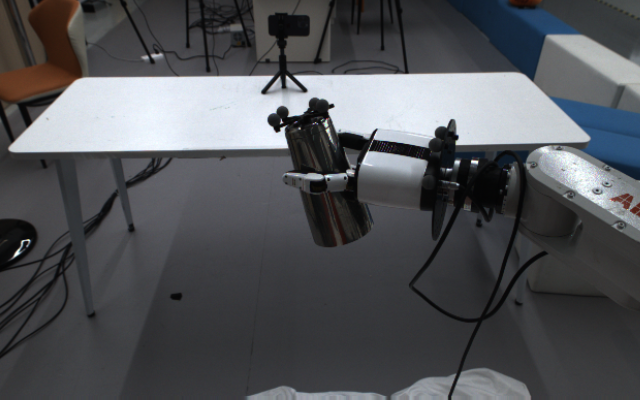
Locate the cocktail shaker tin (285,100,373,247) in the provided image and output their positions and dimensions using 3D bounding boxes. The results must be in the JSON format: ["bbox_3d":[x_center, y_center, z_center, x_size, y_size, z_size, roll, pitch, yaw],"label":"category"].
[{"bbox_3d":[0.009,-0.030,0.682,0.093,0.170,0.093,-17,20,7],"label":"cocktail shaker tin"}]
